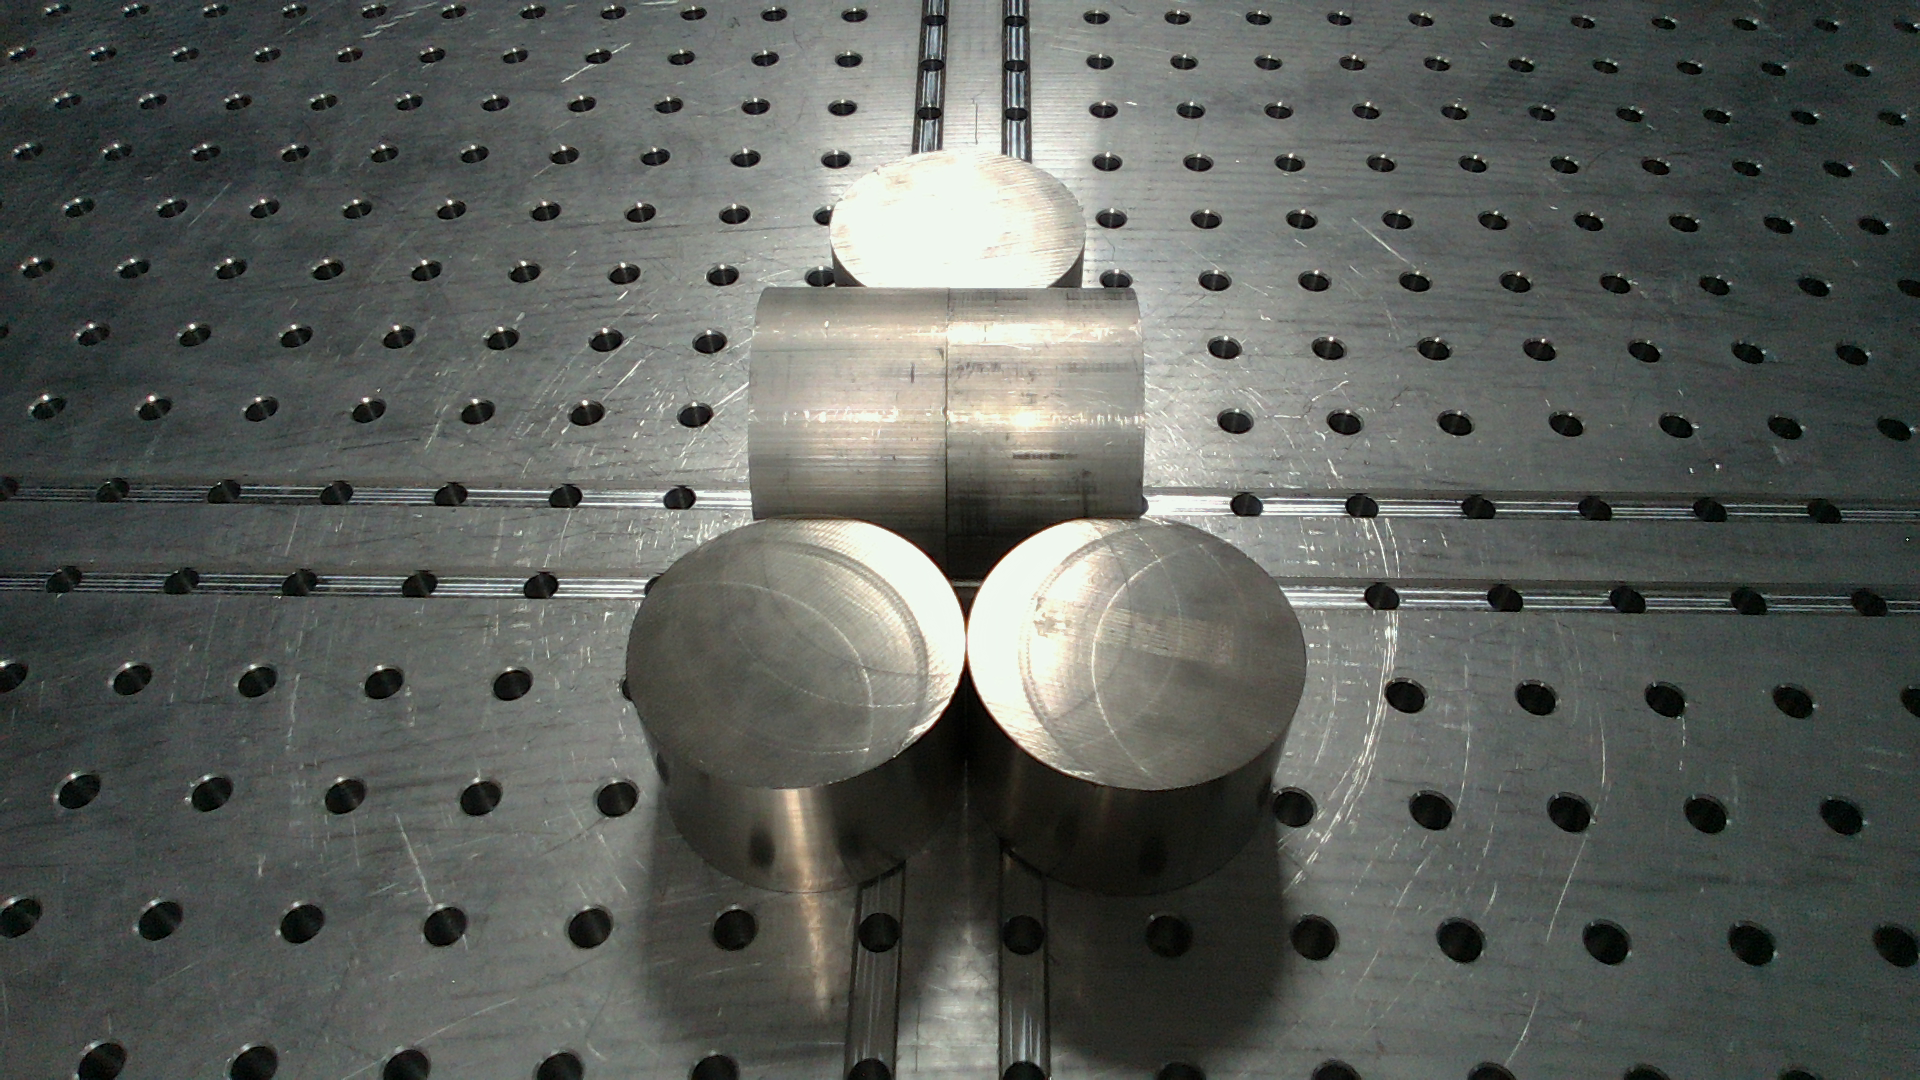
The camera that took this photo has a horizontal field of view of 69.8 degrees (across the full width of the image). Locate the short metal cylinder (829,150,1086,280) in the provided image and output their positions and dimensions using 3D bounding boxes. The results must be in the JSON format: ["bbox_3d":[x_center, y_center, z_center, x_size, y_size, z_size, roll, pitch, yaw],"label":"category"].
[{"bbox_3d":[-0.001,-0.082,0.447,0.080,0.050,0.080,0,50,0],"label":"short metal cylinder"}]

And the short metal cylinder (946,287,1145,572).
[{"bbox_3d":[0.022,-0.030,0.385,0.050,0.080,0.080,0,50,1],"label":"short metal cylinder"}]

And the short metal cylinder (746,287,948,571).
[{"bbox_3d":[-0.028,-0.030,0.385,0.050,0.080,0.080,0,50,1],"label":"short metal cylinder"}]

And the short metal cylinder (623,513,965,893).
[{"bbox_3d":[-0.039,0.040,0.343,0.080,0.050,0.080,0,50,0],"label":"short metal cylinder"}]

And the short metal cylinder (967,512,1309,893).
[{"bbox_3d":[0.042,0.040,0.343,0.080,0.050,0.080,0,50,0],"label":"short metal cylinder"}]
